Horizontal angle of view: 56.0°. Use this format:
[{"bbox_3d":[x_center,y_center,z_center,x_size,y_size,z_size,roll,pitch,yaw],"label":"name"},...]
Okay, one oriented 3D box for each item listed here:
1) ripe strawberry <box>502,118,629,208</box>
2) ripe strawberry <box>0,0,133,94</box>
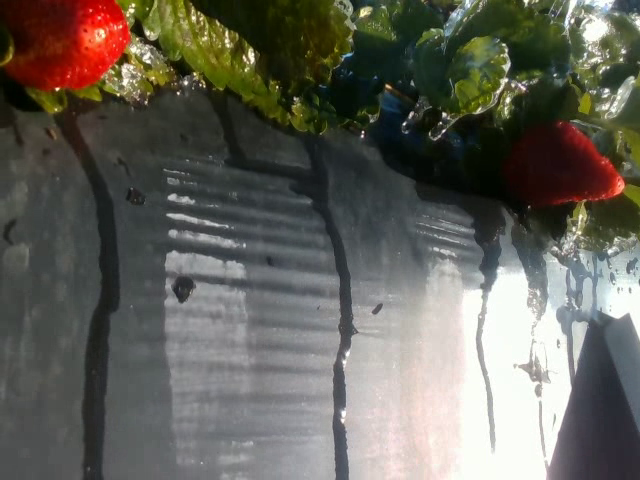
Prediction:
[{"bbox_3d":[0.105,-0.029,0.248,0.041,0.047,0.053,9,16,-26],"label":"ripe strawberry"},{"bbox_3d":[-0.070,-0.059,0.165,0.037,0.040,0.051,1,10,-30],"label":"ripe strawberry"}]
